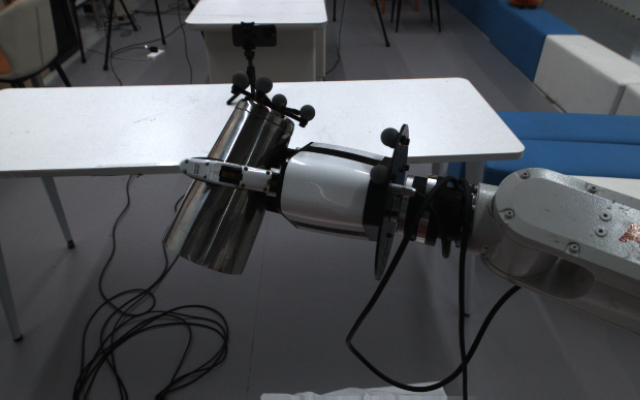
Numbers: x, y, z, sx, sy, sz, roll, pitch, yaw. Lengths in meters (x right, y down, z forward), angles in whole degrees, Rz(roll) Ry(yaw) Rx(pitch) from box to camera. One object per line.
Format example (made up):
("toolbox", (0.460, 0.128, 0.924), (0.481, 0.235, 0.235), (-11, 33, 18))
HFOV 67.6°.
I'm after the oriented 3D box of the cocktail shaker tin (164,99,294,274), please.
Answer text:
("cocktail shaker tin", (-0.089, -0.019, 0.519), (0.093, 0.170, 0.093), (23, 0, 0))
